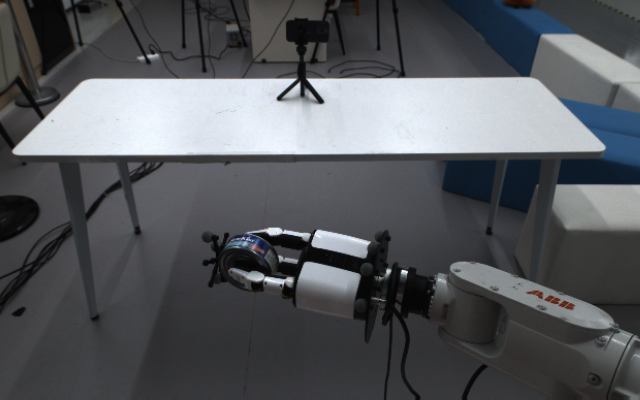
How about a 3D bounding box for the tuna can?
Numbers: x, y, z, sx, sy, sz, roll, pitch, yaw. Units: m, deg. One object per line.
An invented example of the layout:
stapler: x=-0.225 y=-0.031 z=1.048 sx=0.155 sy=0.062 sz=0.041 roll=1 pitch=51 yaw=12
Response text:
tuna can: x=-0.103 y=0.092 z=0.714 sx=0.085 sy=0.085 sz=0.034 roll=9 pitch=34 yaw=10
